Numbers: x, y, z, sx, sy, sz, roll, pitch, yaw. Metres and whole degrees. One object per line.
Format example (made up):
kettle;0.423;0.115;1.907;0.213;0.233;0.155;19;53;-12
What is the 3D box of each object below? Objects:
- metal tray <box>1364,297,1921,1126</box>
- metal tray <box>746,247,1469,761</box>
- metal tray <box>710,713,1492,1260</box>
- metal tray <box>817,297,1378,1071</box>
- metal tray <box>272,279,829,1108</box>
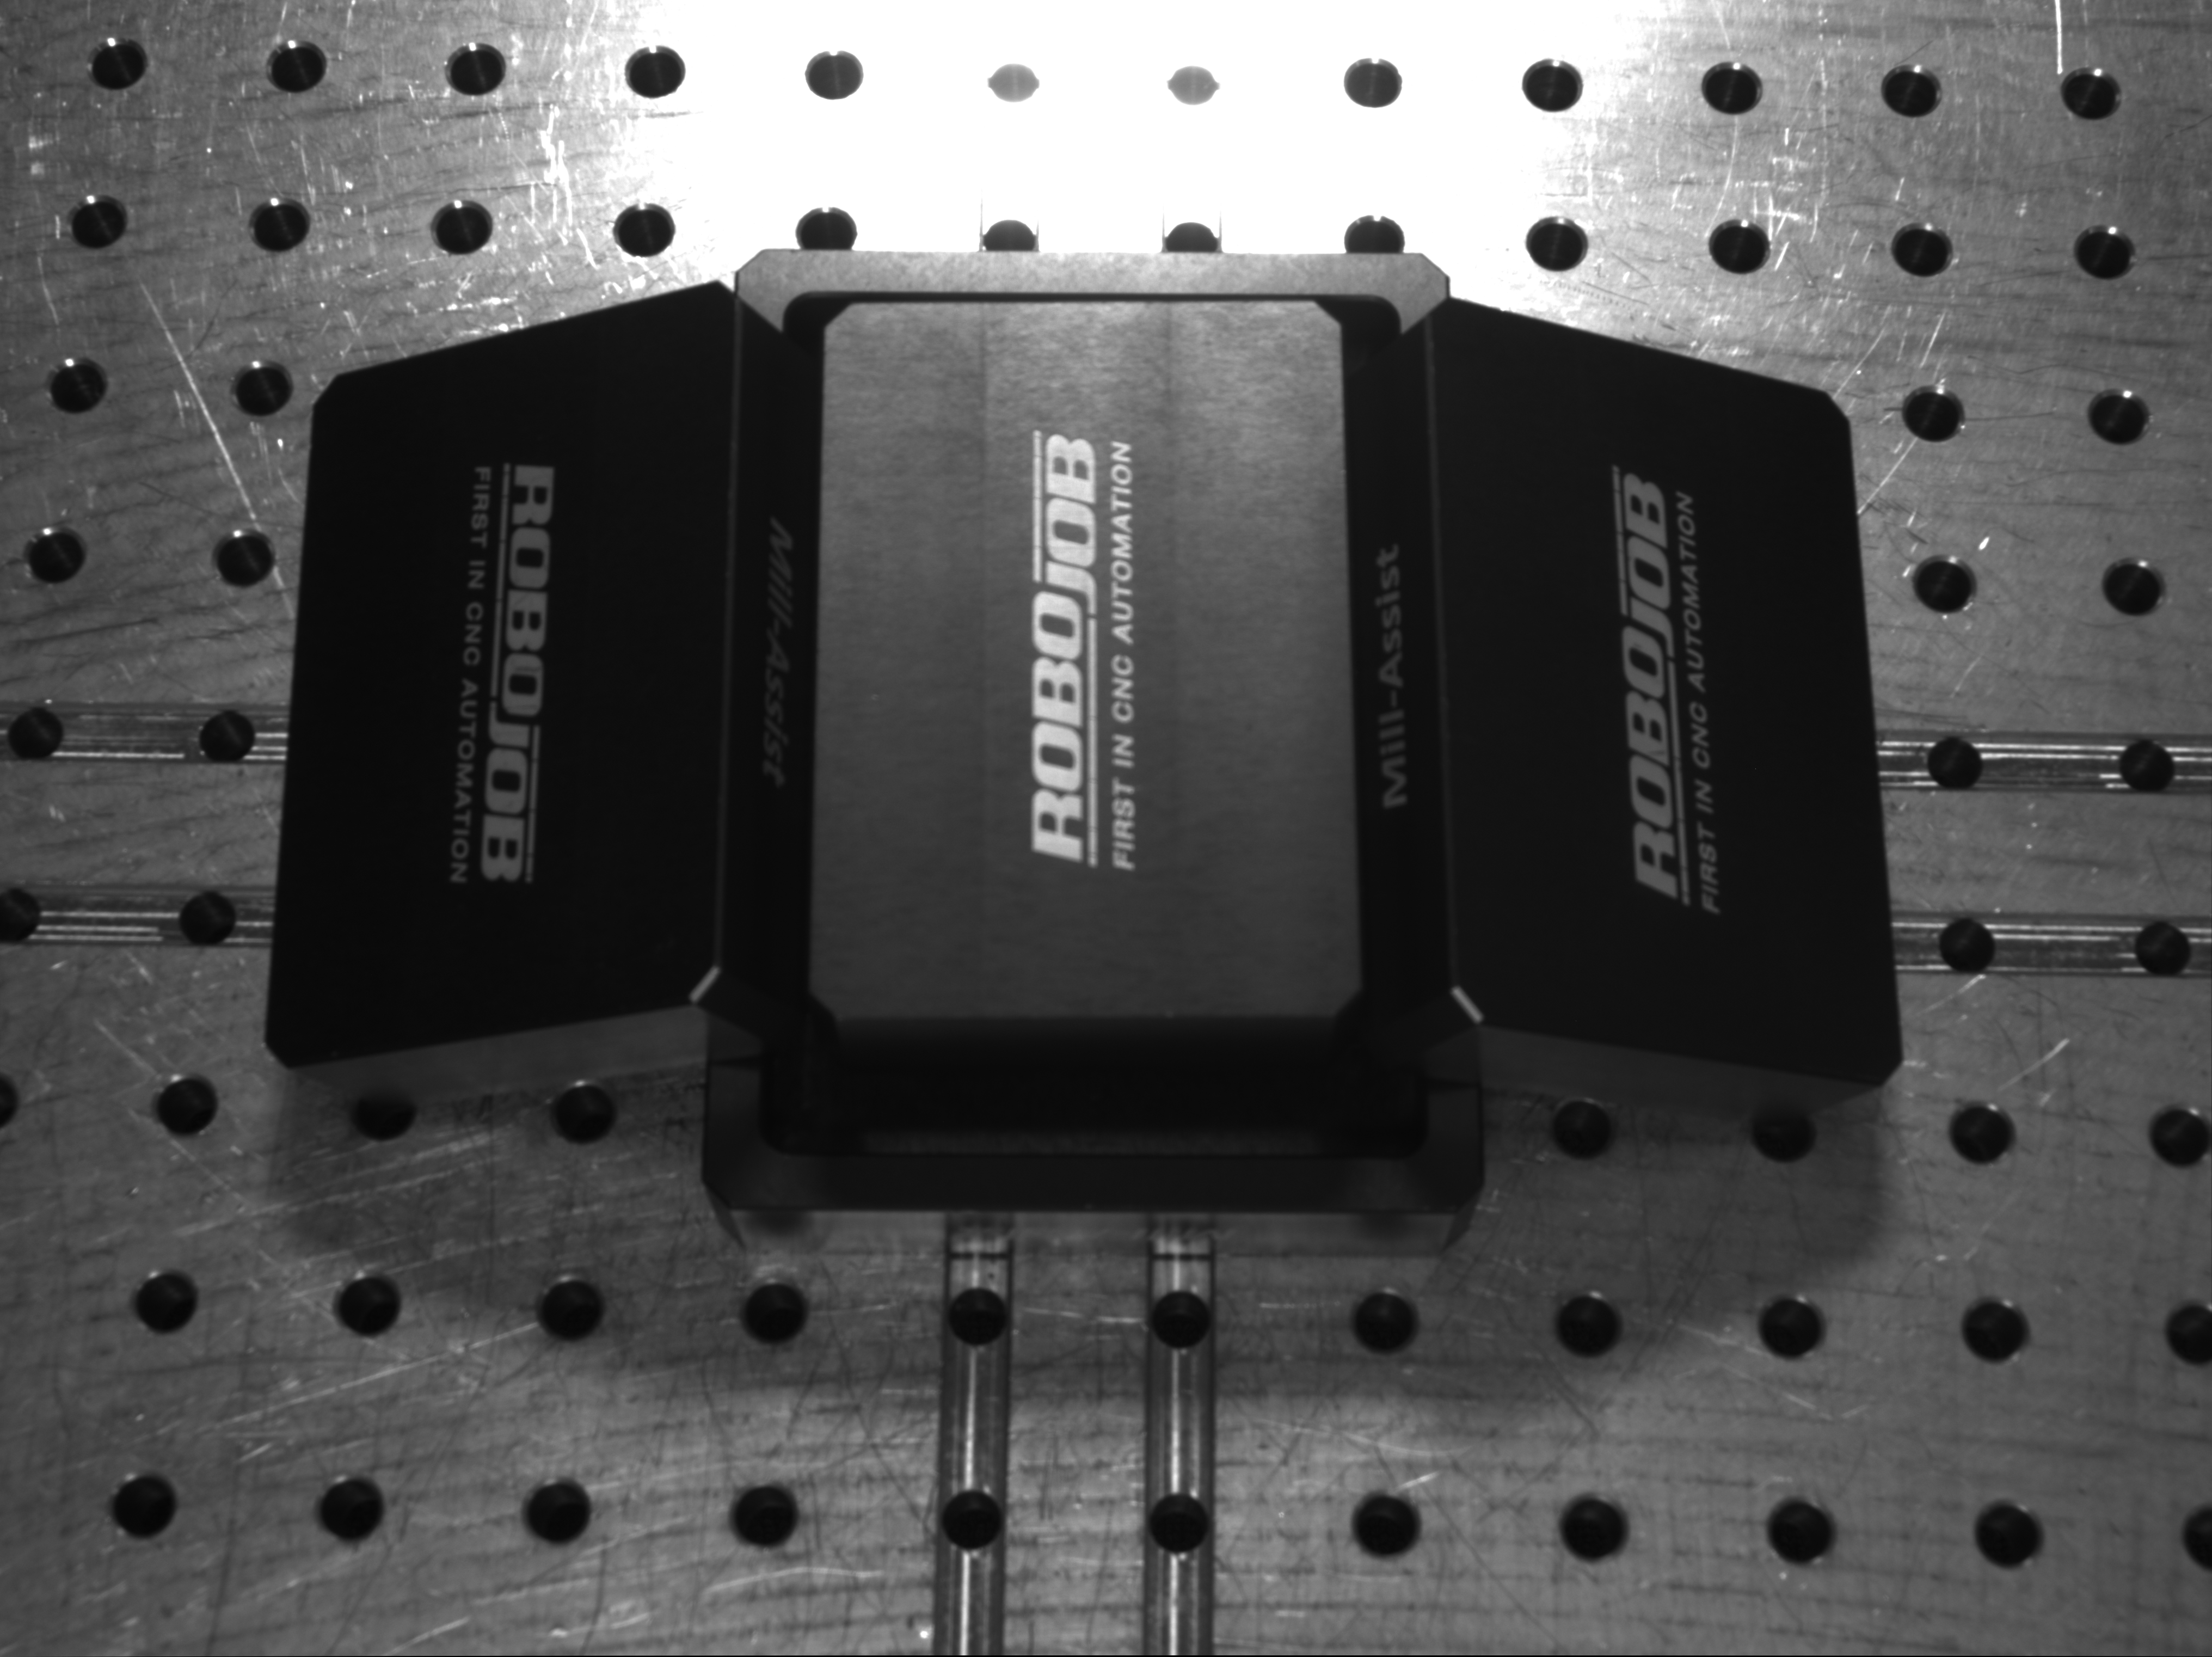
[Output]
metal tray;0.091;-0.019;0.632;0.090;0.030;0.130;10;68;-26
metal tray;-0.001;-0.059;0.666;0.130;0.030;0.090;0;70;0
metal tray;0.000;0.027;0.635;0.130;0.030;0.090;0;70;0
metal tray;-0.002;-0.026;0.622;0.090;0.030;0.130;0;70;0
metal tray;-0.095;-0.023;0.634;0.090;0.030;0.130;-10;68;24
